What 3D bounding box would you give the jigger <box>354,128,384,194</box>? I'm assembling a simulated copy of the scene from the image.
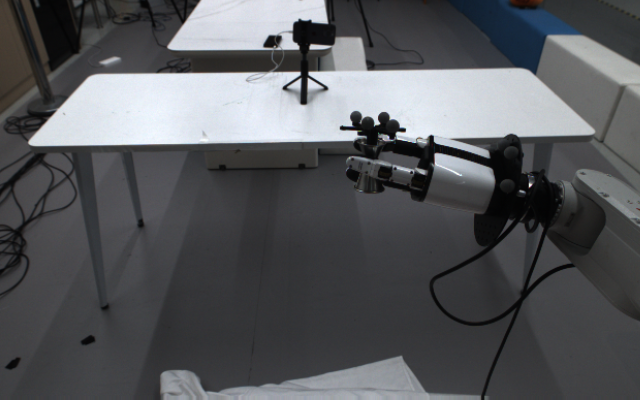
[{"bbox_3d":[0.070,-0.049,0.677,0.043,0.071,0.043,1,20,0],"label":"jigger"}]
